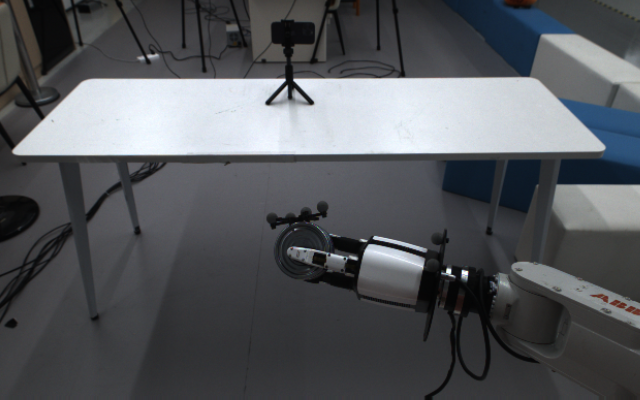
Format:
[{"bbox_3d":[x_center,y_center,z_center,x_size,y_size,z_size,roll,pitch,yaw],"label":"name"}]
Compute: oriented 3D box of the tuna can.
[{"bbox_3d":[-0.020,0.080,0.709,0.085,0.085,0.034,12,-6,14],"label":"tuna can"}]
